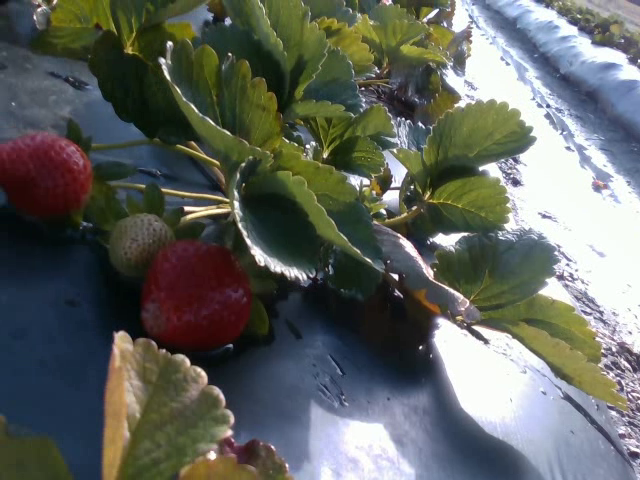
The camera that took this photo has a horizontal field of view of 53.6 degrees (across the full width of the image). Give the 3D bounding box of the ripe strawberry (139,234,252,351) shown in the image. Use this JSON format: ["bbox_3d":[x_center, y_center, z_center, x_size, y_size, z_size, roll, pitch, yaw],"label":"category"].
[{"bbox_3d":[-0.055,0.023,0.250,0.048,0.050,0.065,-8,24,26],"label":"ripe strawberry"}]
